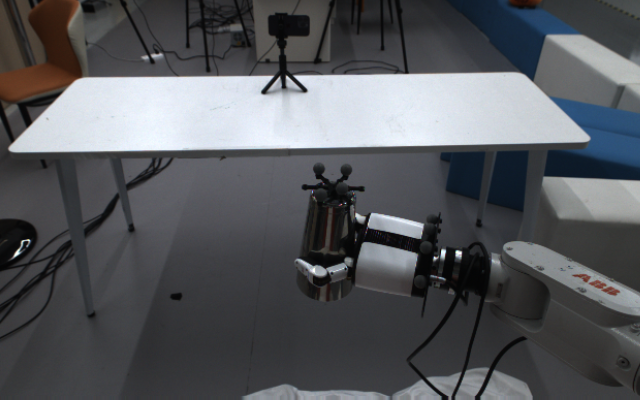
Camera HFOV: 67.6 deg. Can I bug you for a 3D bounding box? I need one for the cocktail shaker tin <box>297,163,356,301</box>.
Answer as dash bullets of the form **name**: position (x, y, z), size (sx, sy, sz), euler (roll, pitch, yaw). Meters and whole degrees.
- **cocktail shaker tin**: position (0.015, 0.059, 0.733), size (0.093, 0.170, 0.093), euler (3, 34, -2)
